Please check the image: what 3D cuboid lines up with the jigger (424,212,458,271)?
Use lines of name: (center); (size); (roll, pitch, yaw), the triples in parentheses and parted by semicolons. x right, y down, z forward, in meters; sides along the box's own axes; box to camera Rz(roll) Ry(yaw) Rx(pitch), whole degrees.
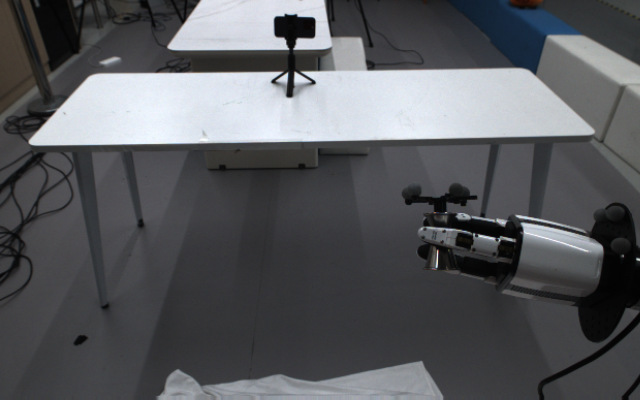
jigger: (0.145, 0.050, 0.588); (0.043, 0.071, 0.043); (1, -5, 0)
